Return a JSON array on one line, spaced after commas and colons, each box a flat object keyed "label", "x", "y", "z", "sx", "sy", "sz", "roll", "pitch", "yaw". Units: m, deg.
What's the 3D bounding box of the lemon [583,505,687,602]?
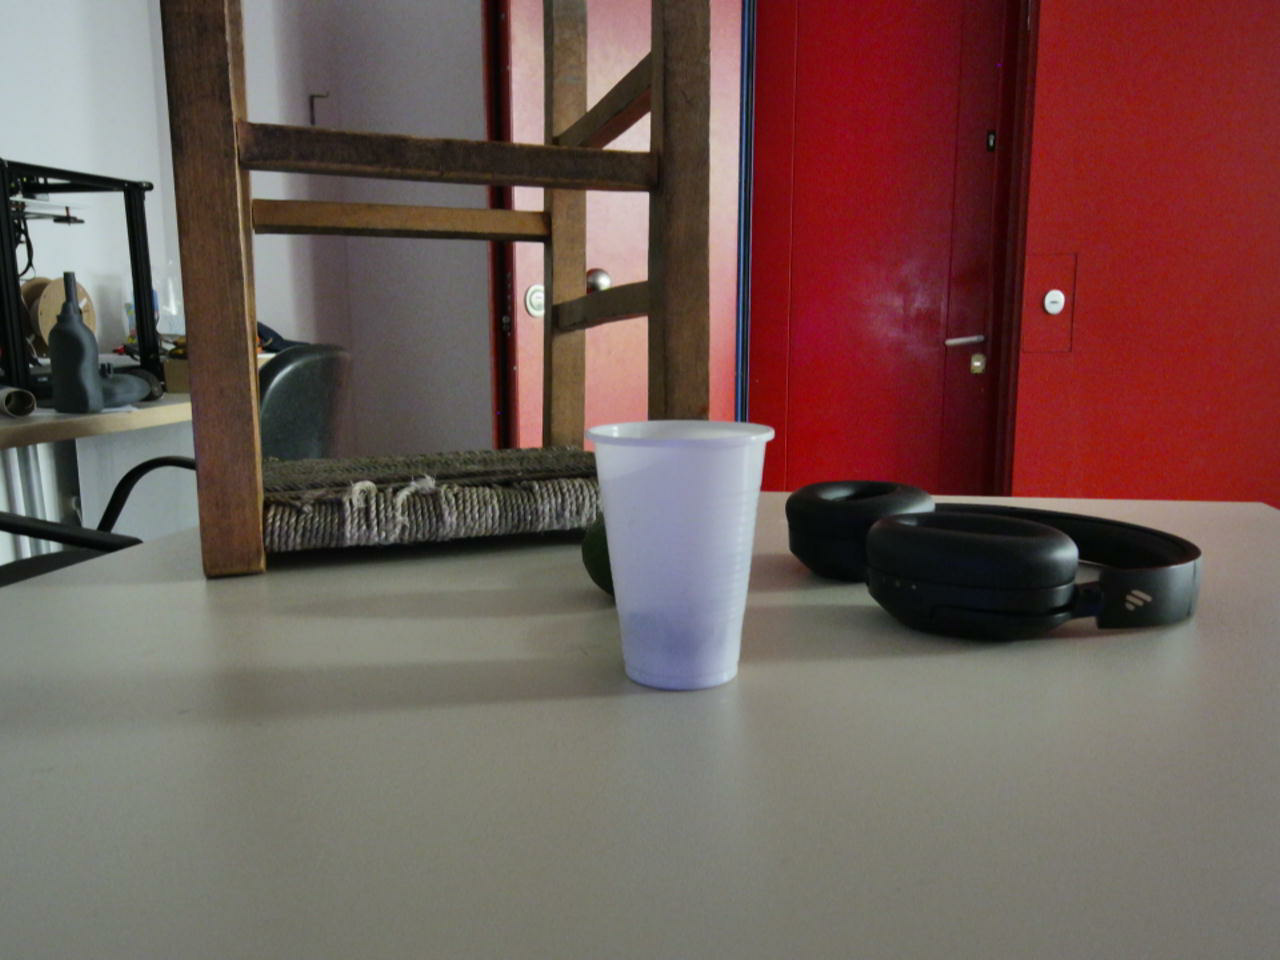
[{"label": "lemon", "x": -0.002, "y": 0.039, "z": 0.543, "sx": 0.057, "sy": 0.051, "sz": 0.054, "roll": 0, "pitch": 7, "yaw": 8}]
